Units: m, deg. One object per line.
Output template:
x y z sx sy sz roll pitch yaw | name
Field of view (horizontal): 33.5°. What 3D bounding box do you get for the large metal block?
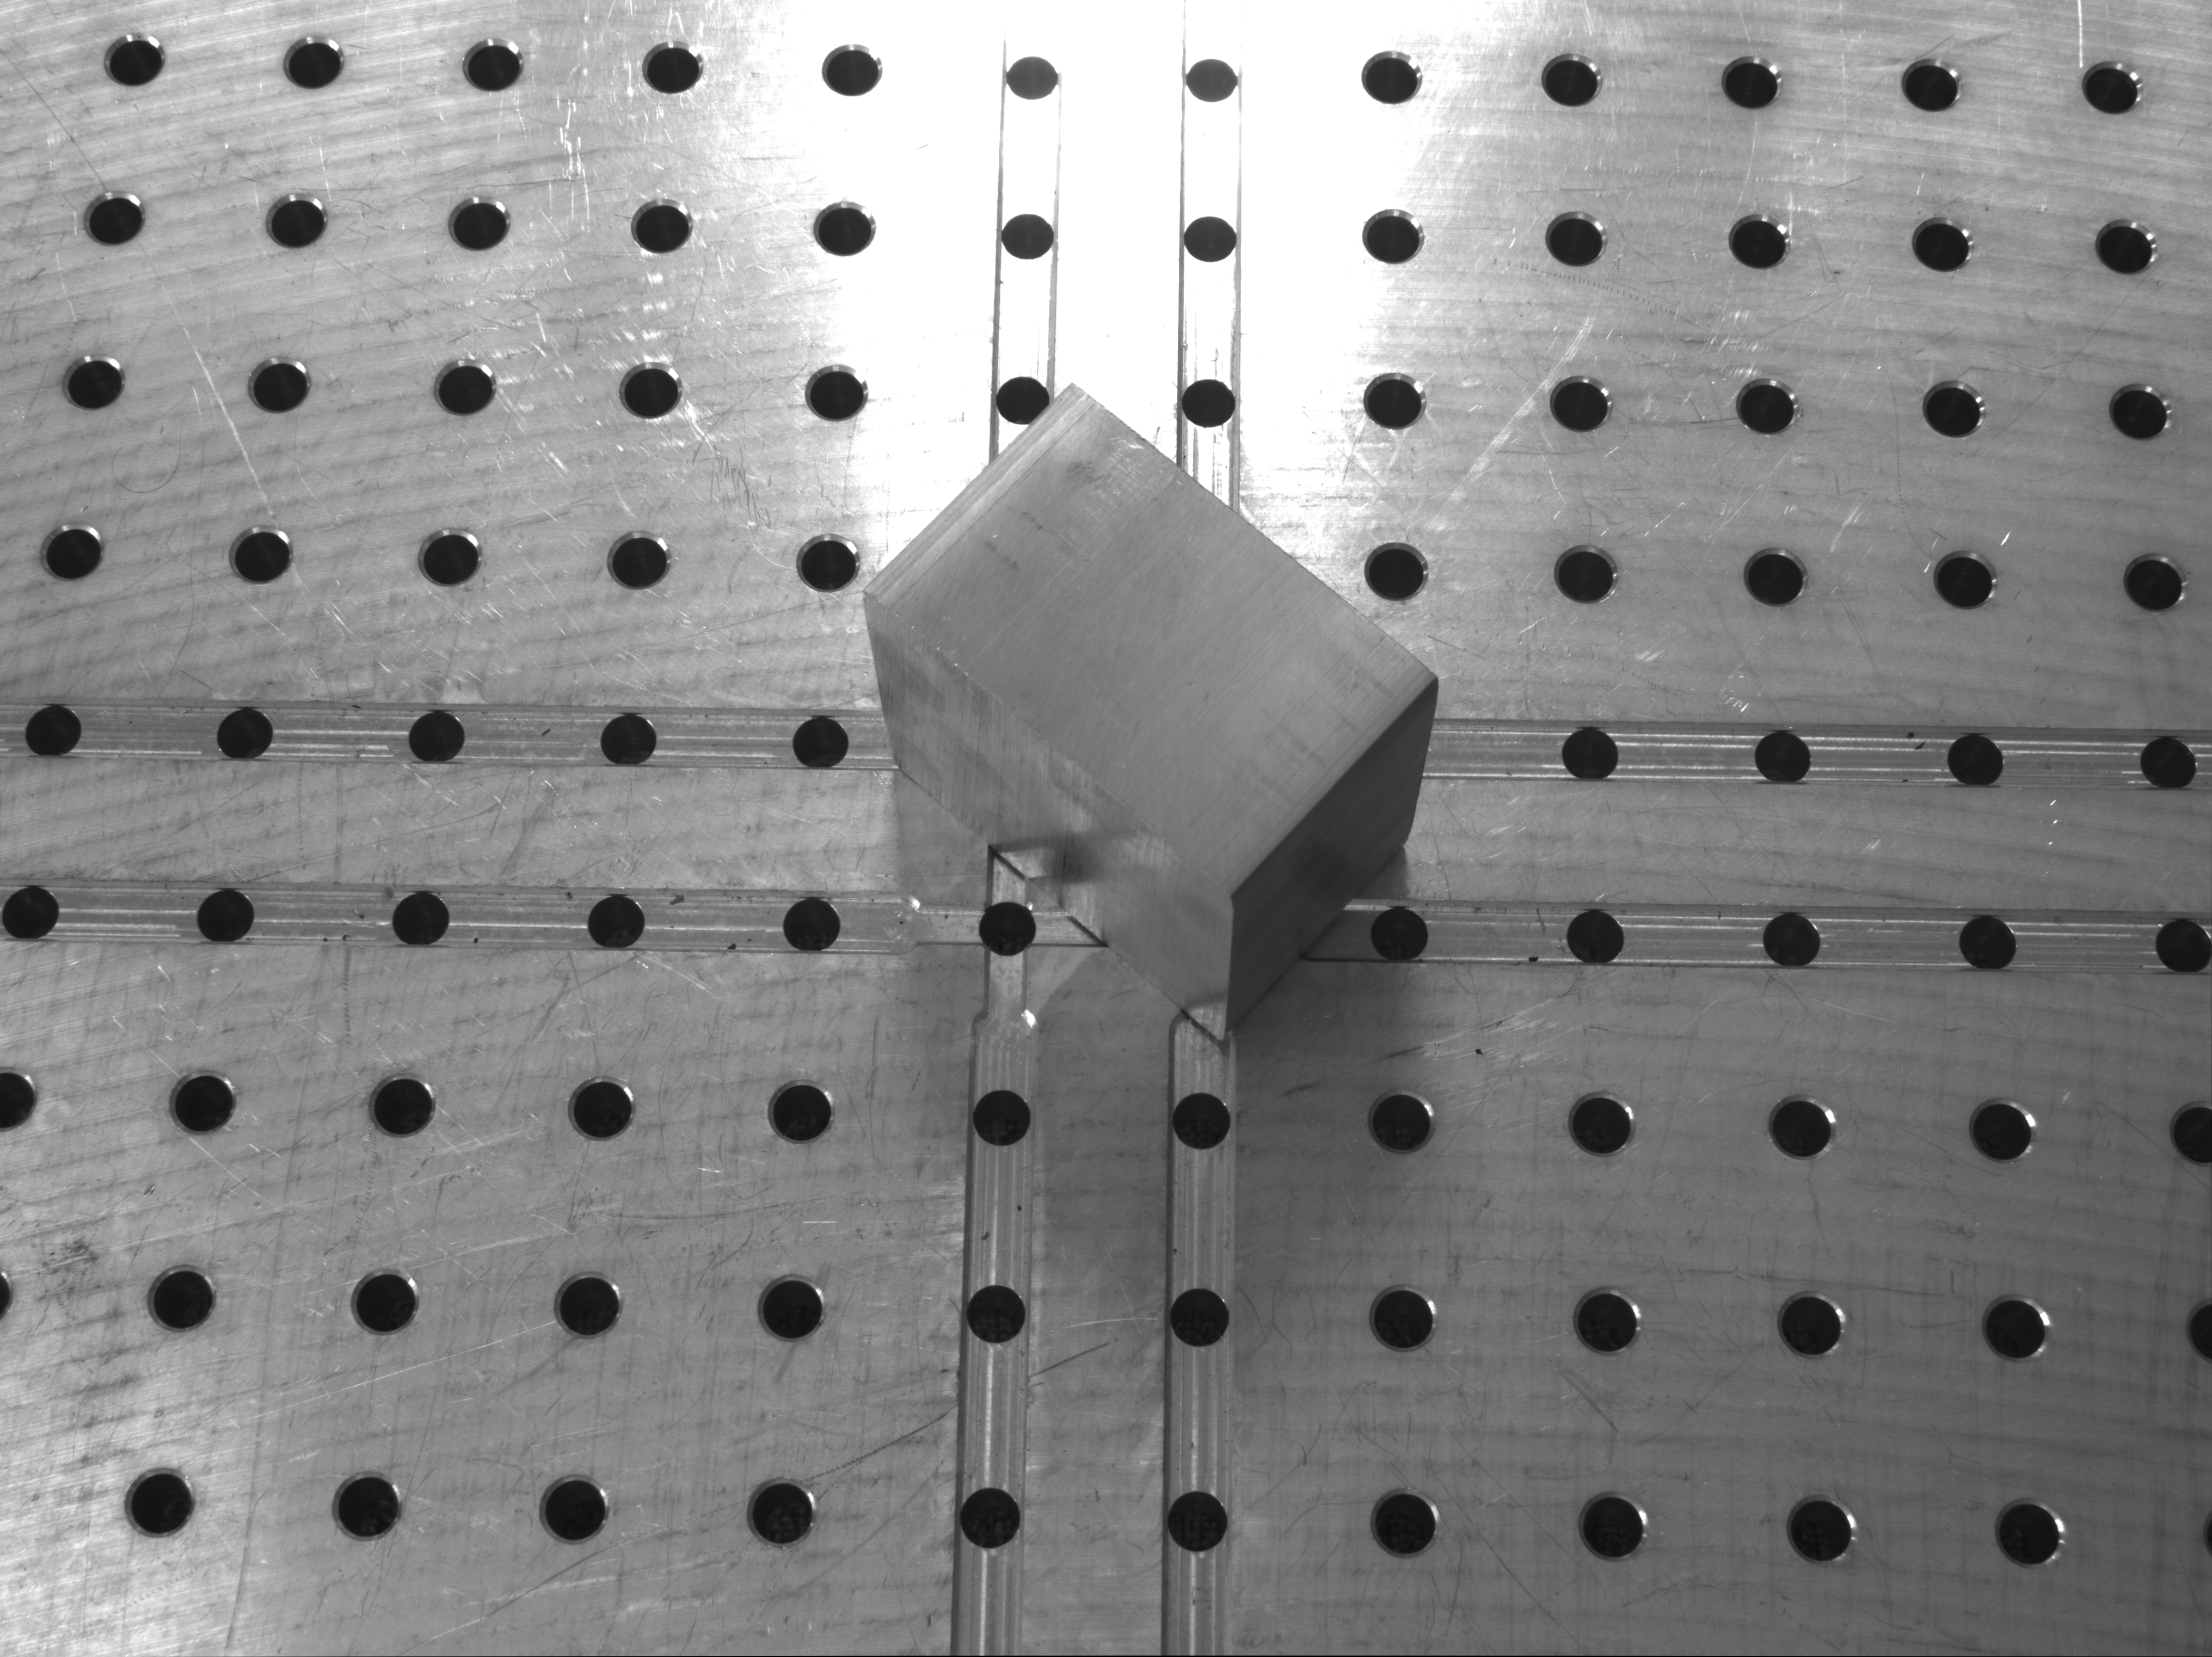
0.007 -0.018 0.625 0.080 0.080 0.050 40 75 13 | large metal block
